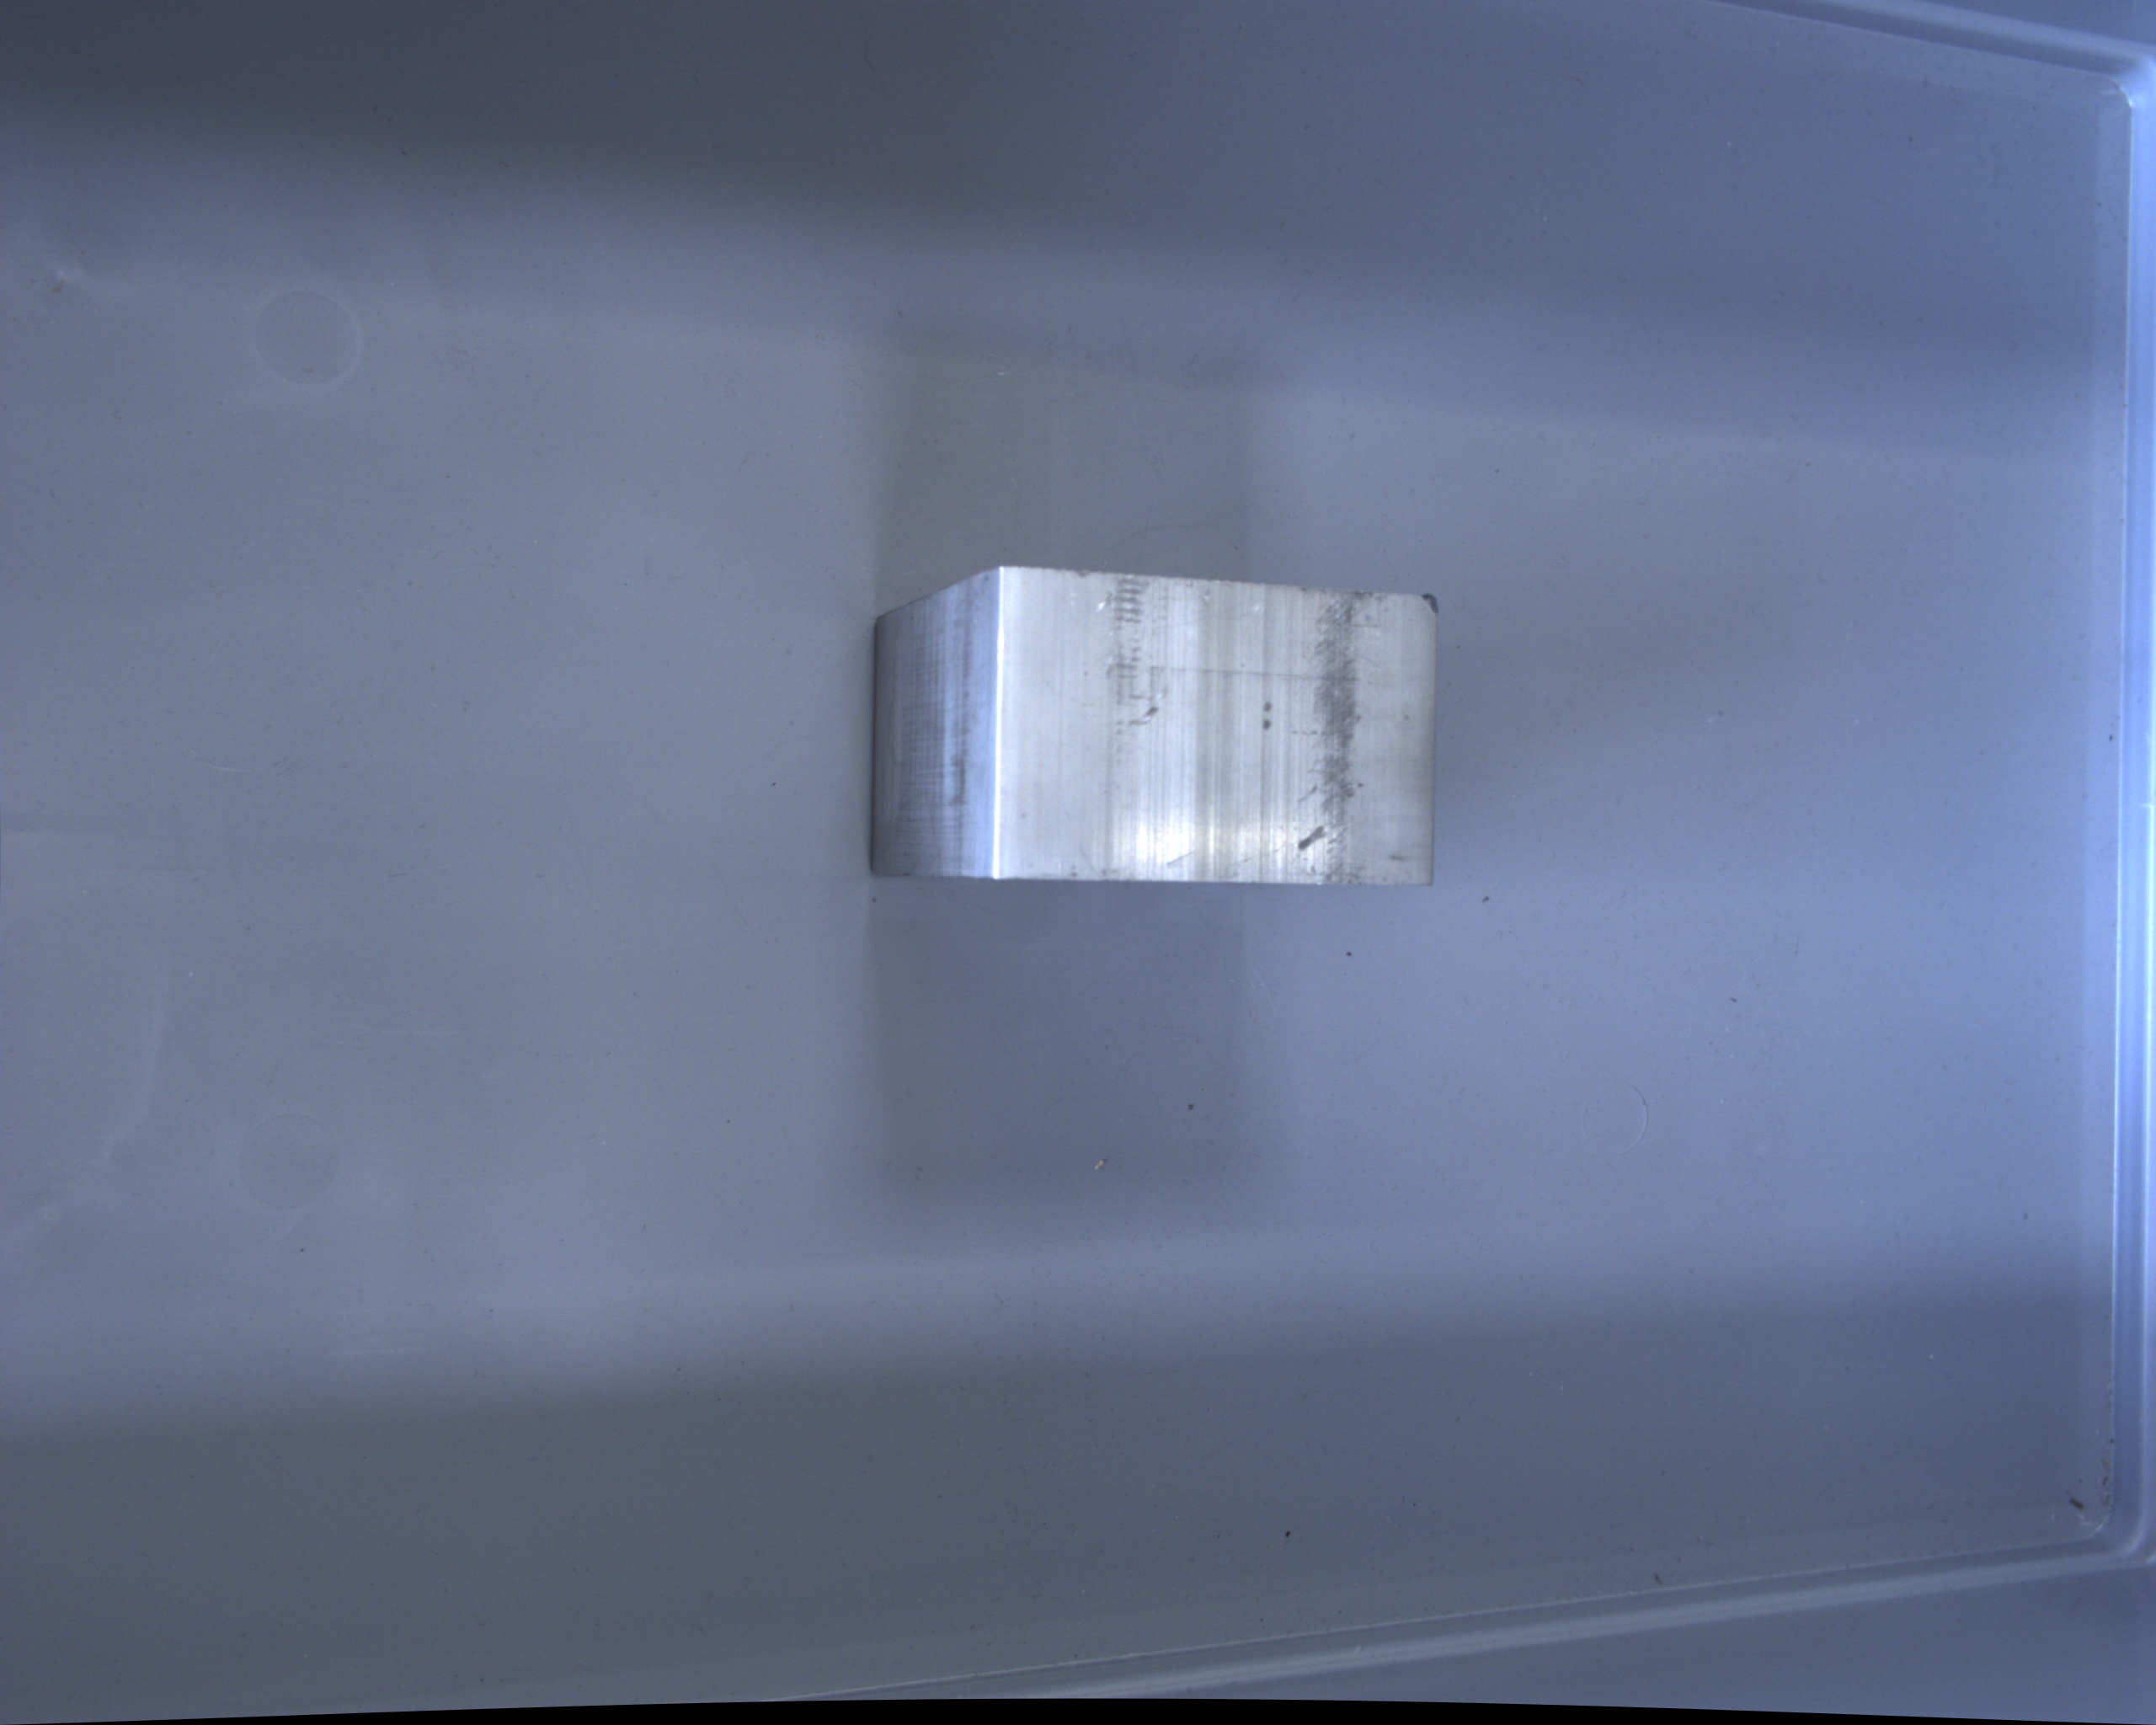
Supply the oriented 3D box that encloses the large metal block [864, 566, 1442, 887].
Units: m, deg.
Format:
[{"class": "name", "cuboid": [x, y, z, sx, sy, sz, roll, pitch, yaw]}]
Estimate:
[{"class": "large metal block", "cuboid": [0.011, -0.022, 0.382, 0.081, 0.080, 0.050, 1, 90, -20]}]
